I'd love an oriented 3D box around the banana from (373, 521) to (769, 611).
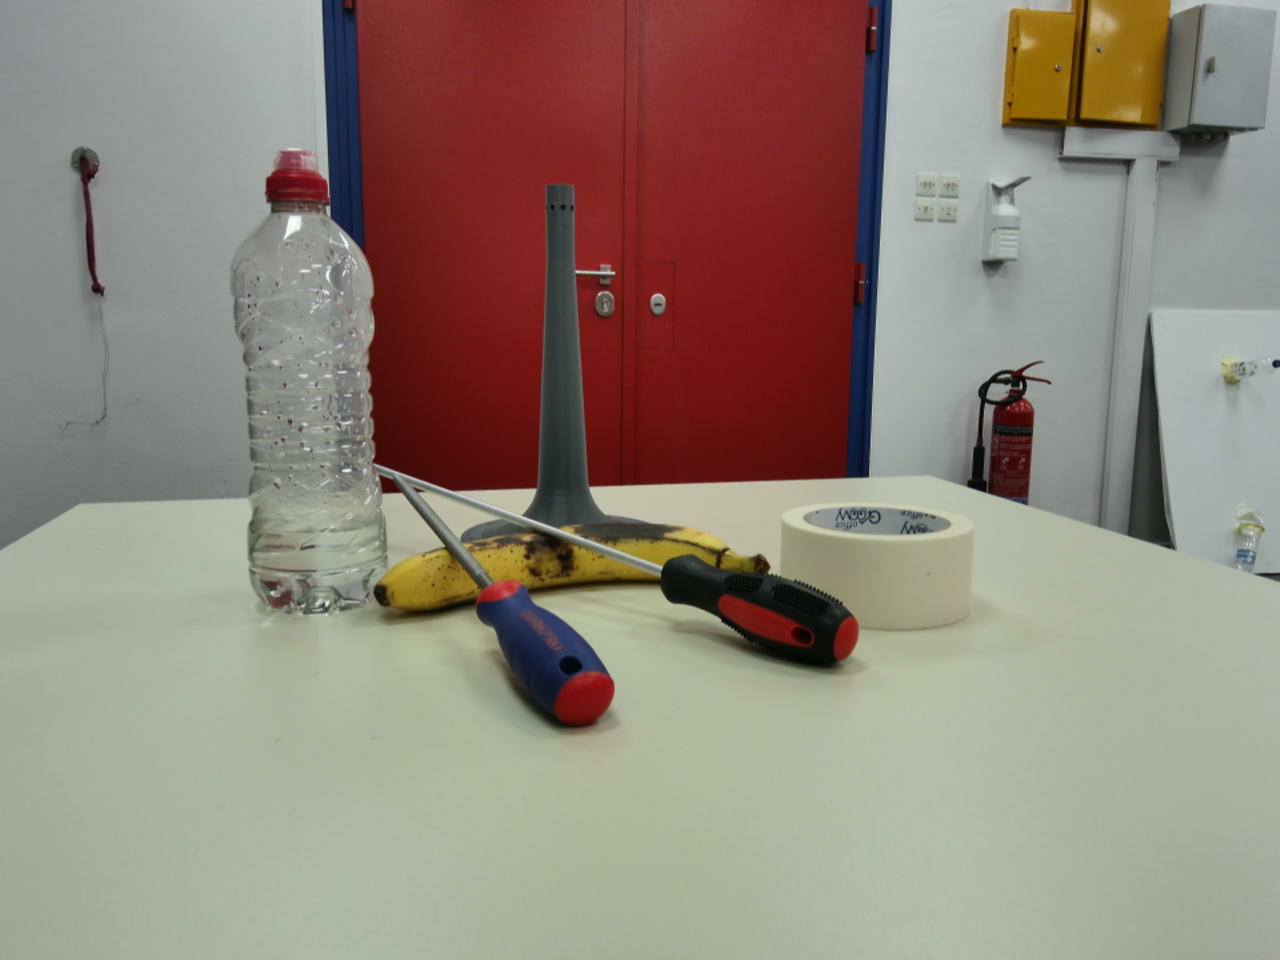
[{"bbox_3d":[-0.040,0.049,0.591,0.222,0.037,0.084,-1,8,-12],"label":"banana"}]
